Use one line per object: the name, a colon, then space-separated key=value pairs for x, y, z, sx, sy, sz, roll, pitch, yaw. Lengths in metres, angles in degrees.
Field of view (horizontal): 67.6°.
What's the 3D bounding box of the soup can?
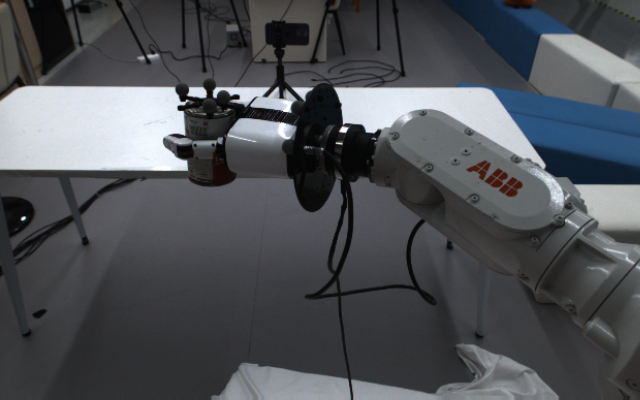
soup can: x=-0.146 y=-0.076 z=0.652 sx=0.067 sy=0.101 sz=0.067 roll=4 pitch=31 yaw=-2
